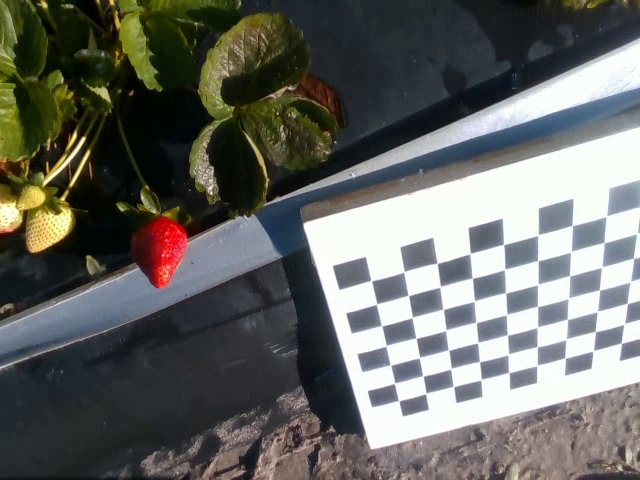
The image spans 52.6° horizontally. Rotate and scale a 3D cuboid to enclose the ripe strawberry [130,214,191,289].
[{"bbox_3d":[-0.087,0.009,0.346,0.036,0.046,0.038,-14,-37,6],"label":"ripe strawberry"}]
